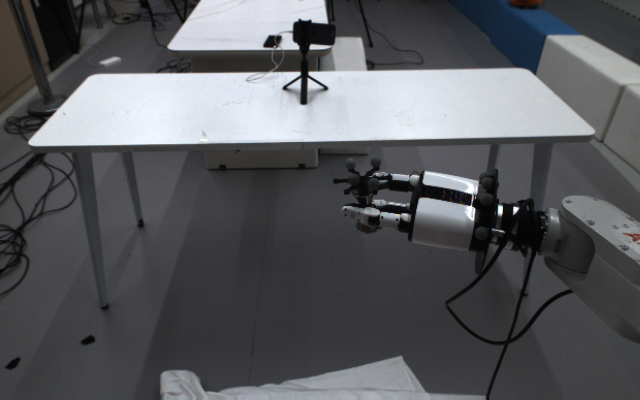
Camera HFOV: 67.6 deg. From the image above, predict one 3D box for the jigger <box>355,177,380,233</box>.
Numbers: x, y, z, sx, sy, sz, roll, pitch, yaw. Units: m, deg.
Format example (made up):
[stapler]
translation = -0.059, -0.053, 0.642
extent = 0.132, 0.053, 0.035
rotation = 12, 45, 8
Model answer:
[jigger]
translation = 0.073, 0.009, 0.757
extent = 0.043, 0.071, 0.043
rotation = -9, 31, 5
